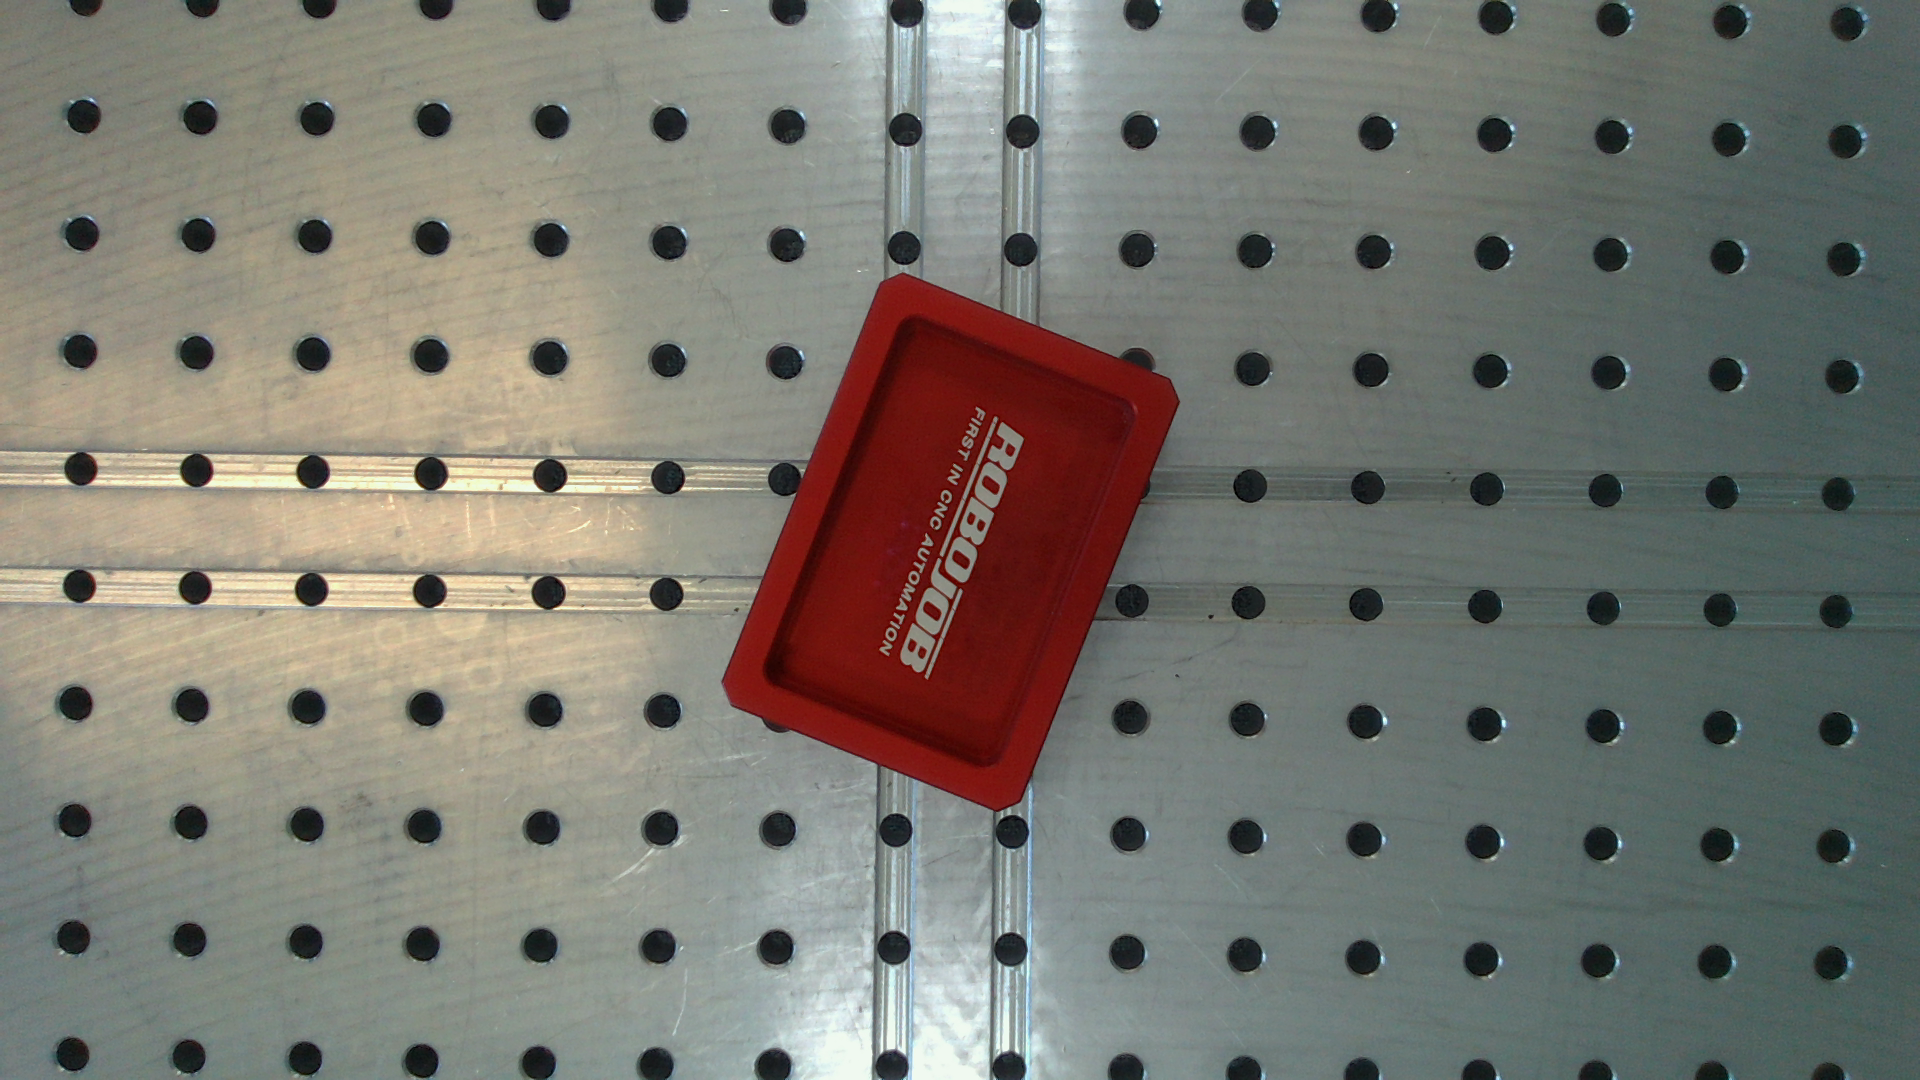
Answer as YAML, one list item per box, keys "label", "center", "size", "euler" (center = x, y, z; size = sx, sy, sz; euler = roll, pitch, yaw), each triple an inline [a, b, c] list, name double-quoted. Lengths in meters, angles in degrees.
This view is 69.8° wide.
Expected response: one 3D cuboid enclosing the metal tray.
- label: "metal tray"
  center: [-0.003, 0.001, 0.395]
  size: [0.090, 0.030, 0.130]
  euler: [22, 90, -1]
